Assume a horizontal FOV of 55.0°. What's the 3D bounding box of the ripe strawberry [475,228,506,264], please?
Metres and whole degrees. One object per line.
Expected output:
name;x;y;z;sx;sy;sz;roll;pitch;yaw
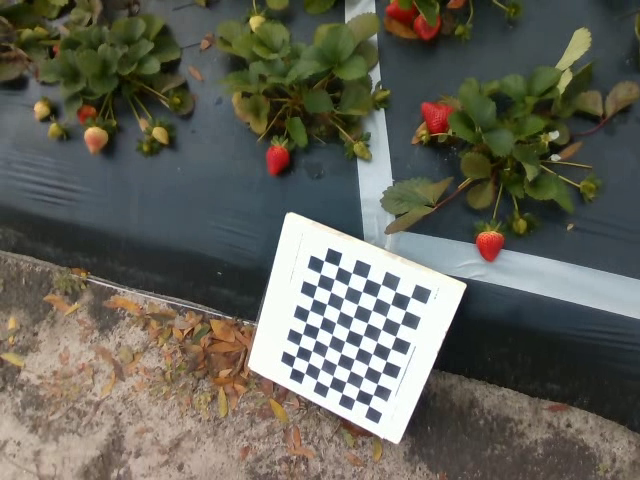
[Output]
ripe strawberry;0.222;0.006;0.792;0.039;0.047;0.041;-12;4;35

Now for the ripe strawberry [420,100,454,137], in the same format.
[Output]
ripe strawberry;0.160;-0.170;0.824;0.062;0.043;0.042;44;34;13

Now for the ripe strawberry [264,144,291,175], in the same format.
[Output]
ripe strawberry;-0.059;-0.111;0.838;0.036;0.046;0.040;12;-24;30
